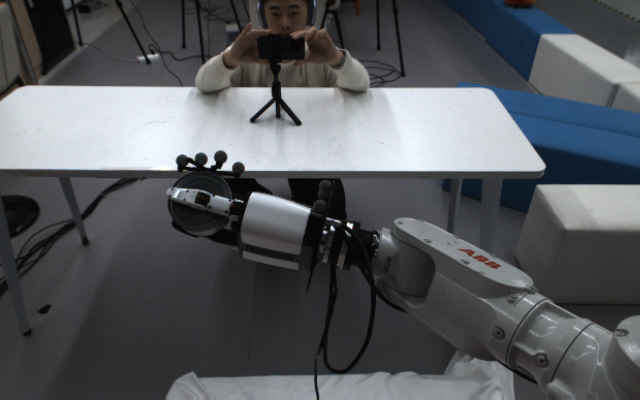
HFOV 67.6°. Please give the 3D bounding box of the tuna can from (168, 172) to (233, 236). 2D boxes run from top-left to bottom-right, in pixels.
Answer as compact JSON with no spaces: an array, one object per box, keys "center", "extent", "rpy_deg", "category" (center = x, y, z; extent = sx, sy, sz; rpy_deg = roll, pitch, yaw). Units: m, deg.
[{"center":[-0.162,0.005,0.664],"extent":[0.085,0.034,0.085],"rpy_deg":[1,72,-2],"category":"tuna can"}]
